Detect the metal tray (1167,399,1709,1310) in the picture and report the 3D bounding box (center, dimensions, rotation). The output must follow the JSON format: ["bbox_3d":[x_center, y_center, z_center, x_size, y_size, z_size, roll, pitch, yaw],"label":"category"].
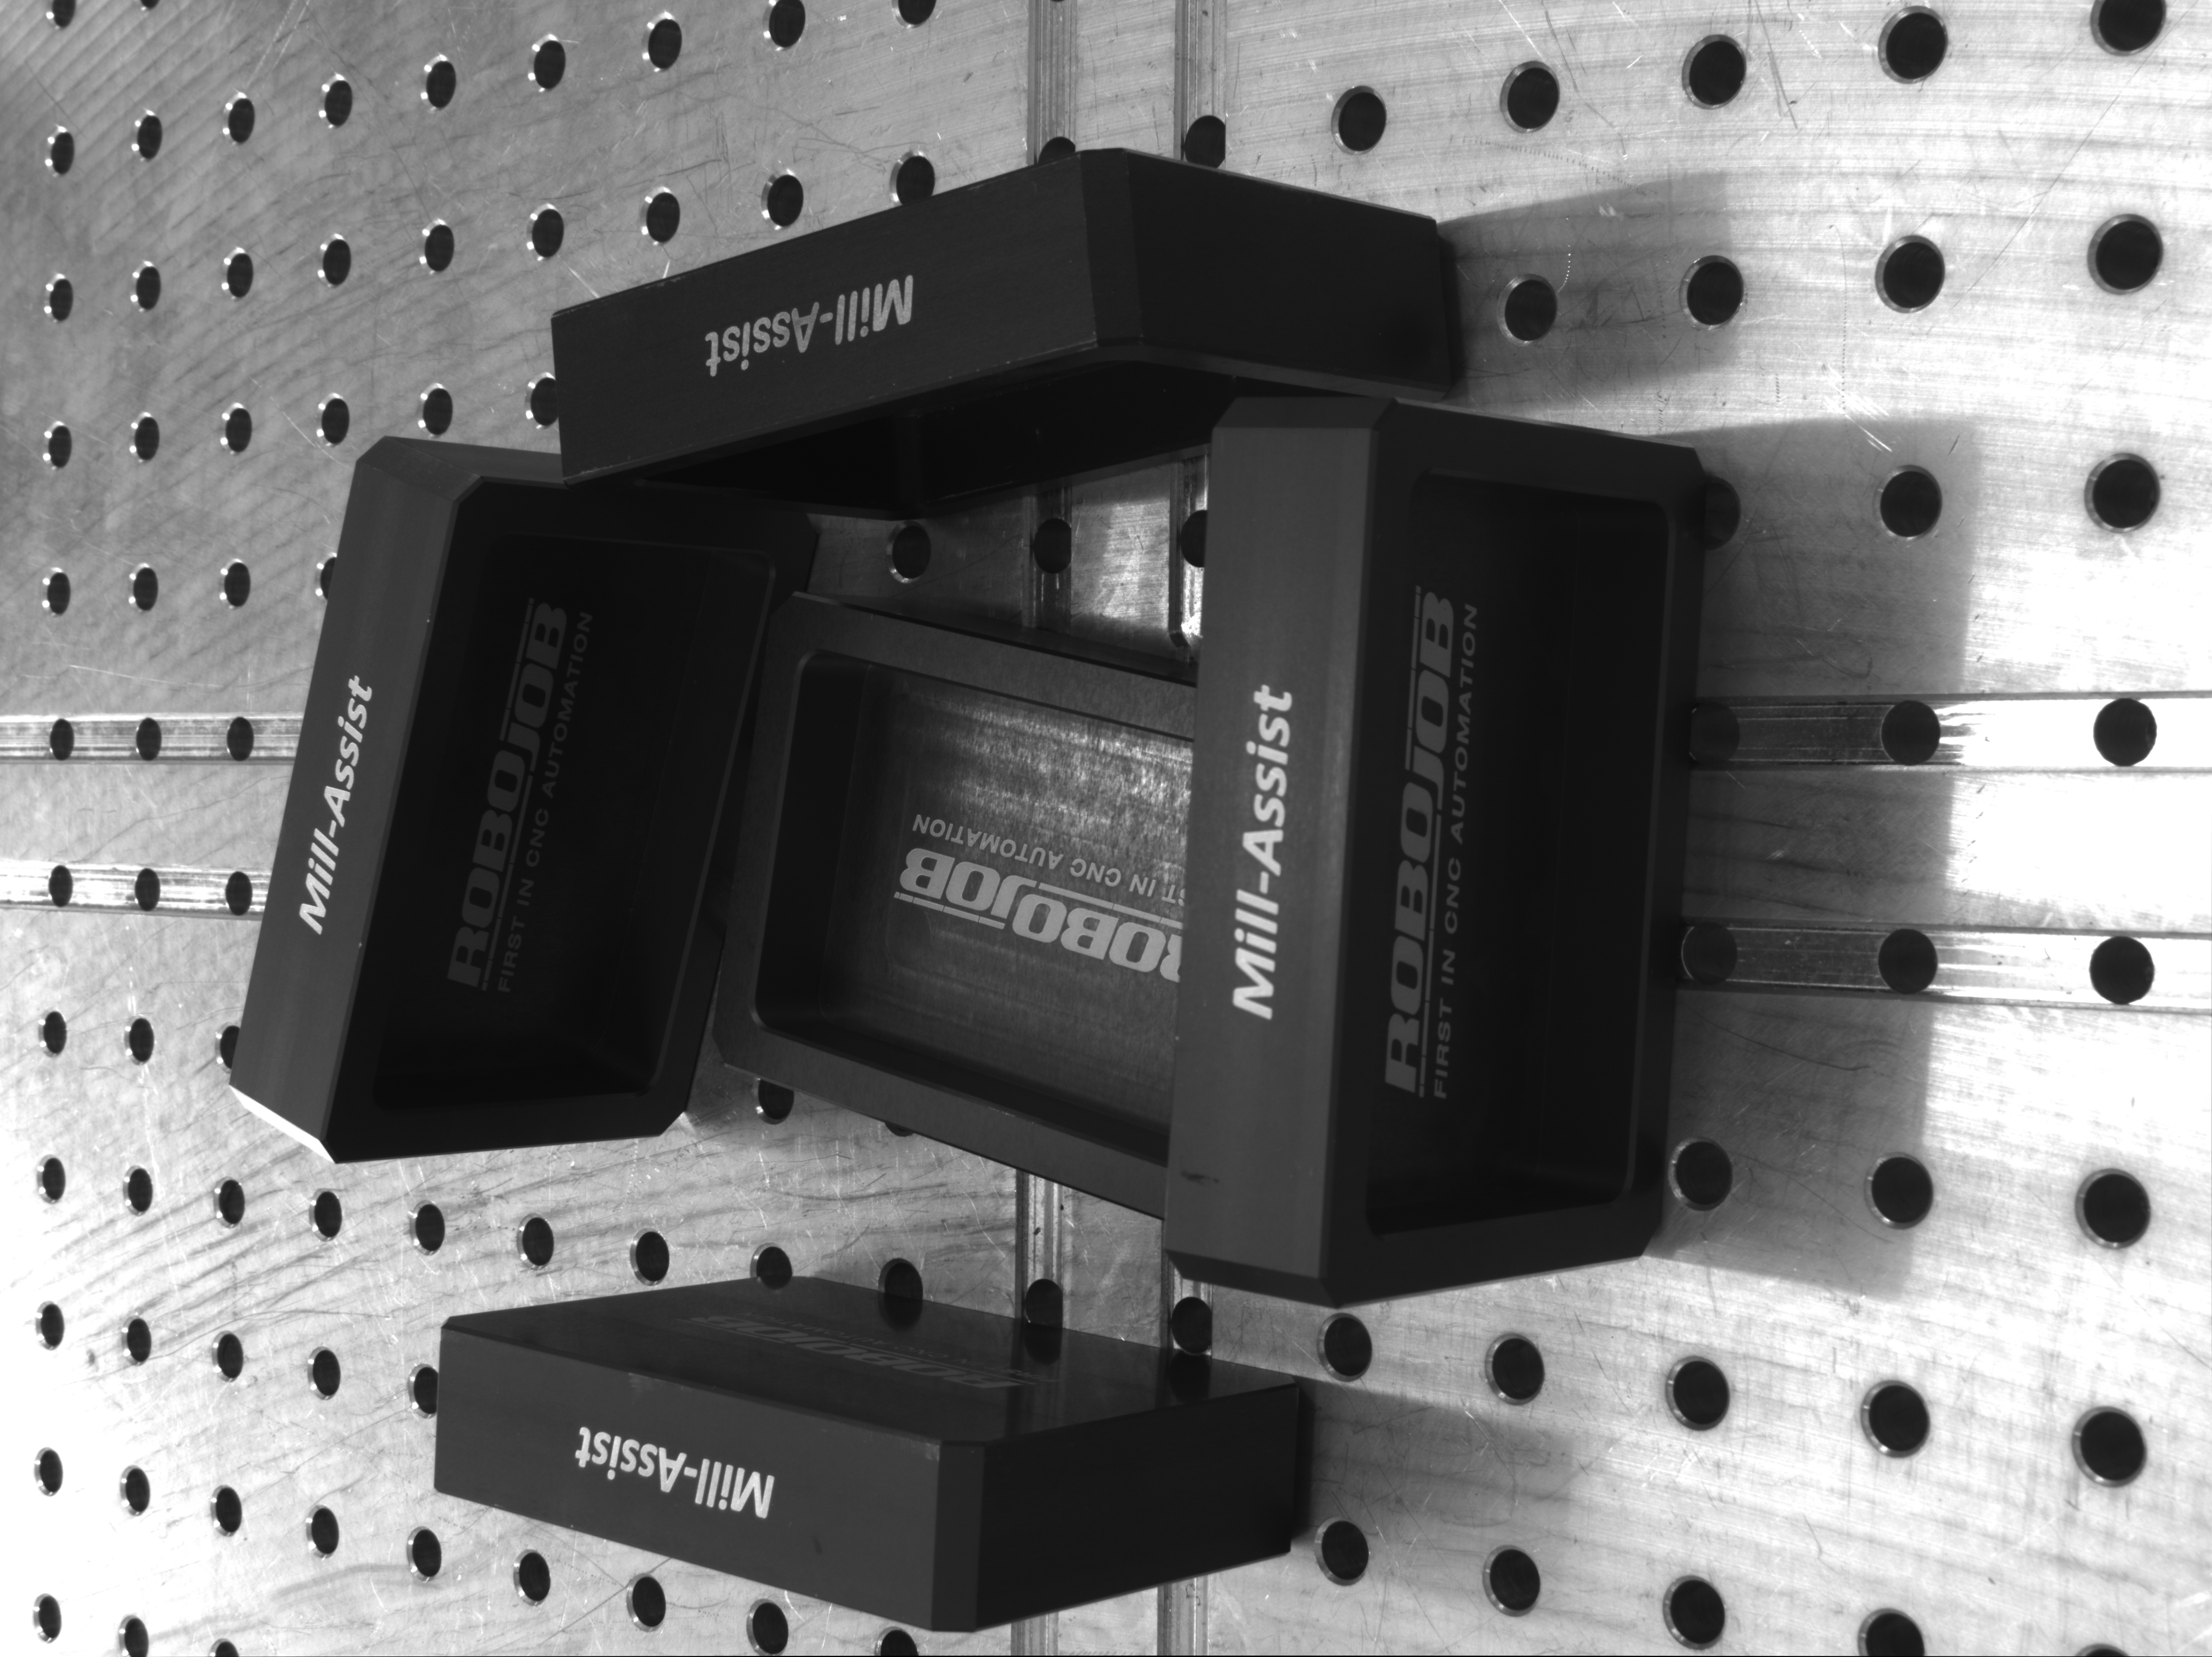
[{"bbox_3d":[0.052,0.003,0.562,0.030,0.090,0.130,6,94,40],"label":"metal tray"}]

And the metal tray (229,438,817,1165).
[{"bbox_3d":[-0.110,-0.004,0.699,0.030,0.090,0.130,23,104,38],"label":"metal tray"}]

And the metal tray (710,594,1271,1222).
[{"bbox_3d":[-0.011,0.013,0.654,0.130,0.030,0.090,15,99,39],"label":"metal tray"}]

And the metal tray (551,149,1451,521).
[{"bbox_3d":[-0.019,-0.080,0.622,0.130,0.090,0.030,-8,85,40],"label":"metal tray"}]

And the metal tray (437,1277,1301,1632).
[{"bbox_3d":[-0.042,0.106,0.642,0.130,0.090,0.030,5,93,40],"label":"metal tray"}]
